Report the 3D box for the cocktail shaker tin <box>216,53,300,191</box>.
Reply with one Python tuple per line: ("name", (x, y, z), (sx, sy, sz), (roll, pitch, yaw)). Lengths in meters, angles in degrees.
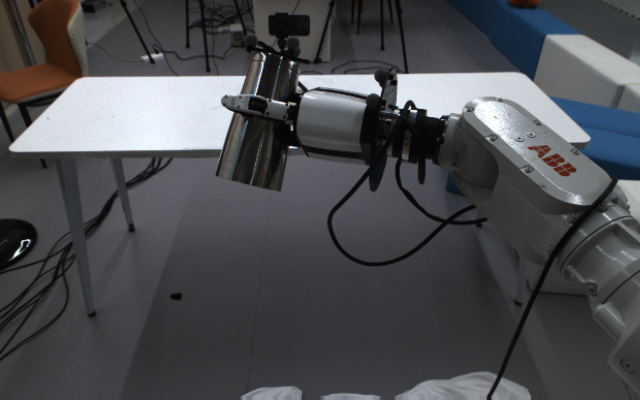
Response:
("cocktail shaker tin", (-0.079, -0.106, 0.654), (0.093, 0.170, 0.093), (13, 2, 0))
